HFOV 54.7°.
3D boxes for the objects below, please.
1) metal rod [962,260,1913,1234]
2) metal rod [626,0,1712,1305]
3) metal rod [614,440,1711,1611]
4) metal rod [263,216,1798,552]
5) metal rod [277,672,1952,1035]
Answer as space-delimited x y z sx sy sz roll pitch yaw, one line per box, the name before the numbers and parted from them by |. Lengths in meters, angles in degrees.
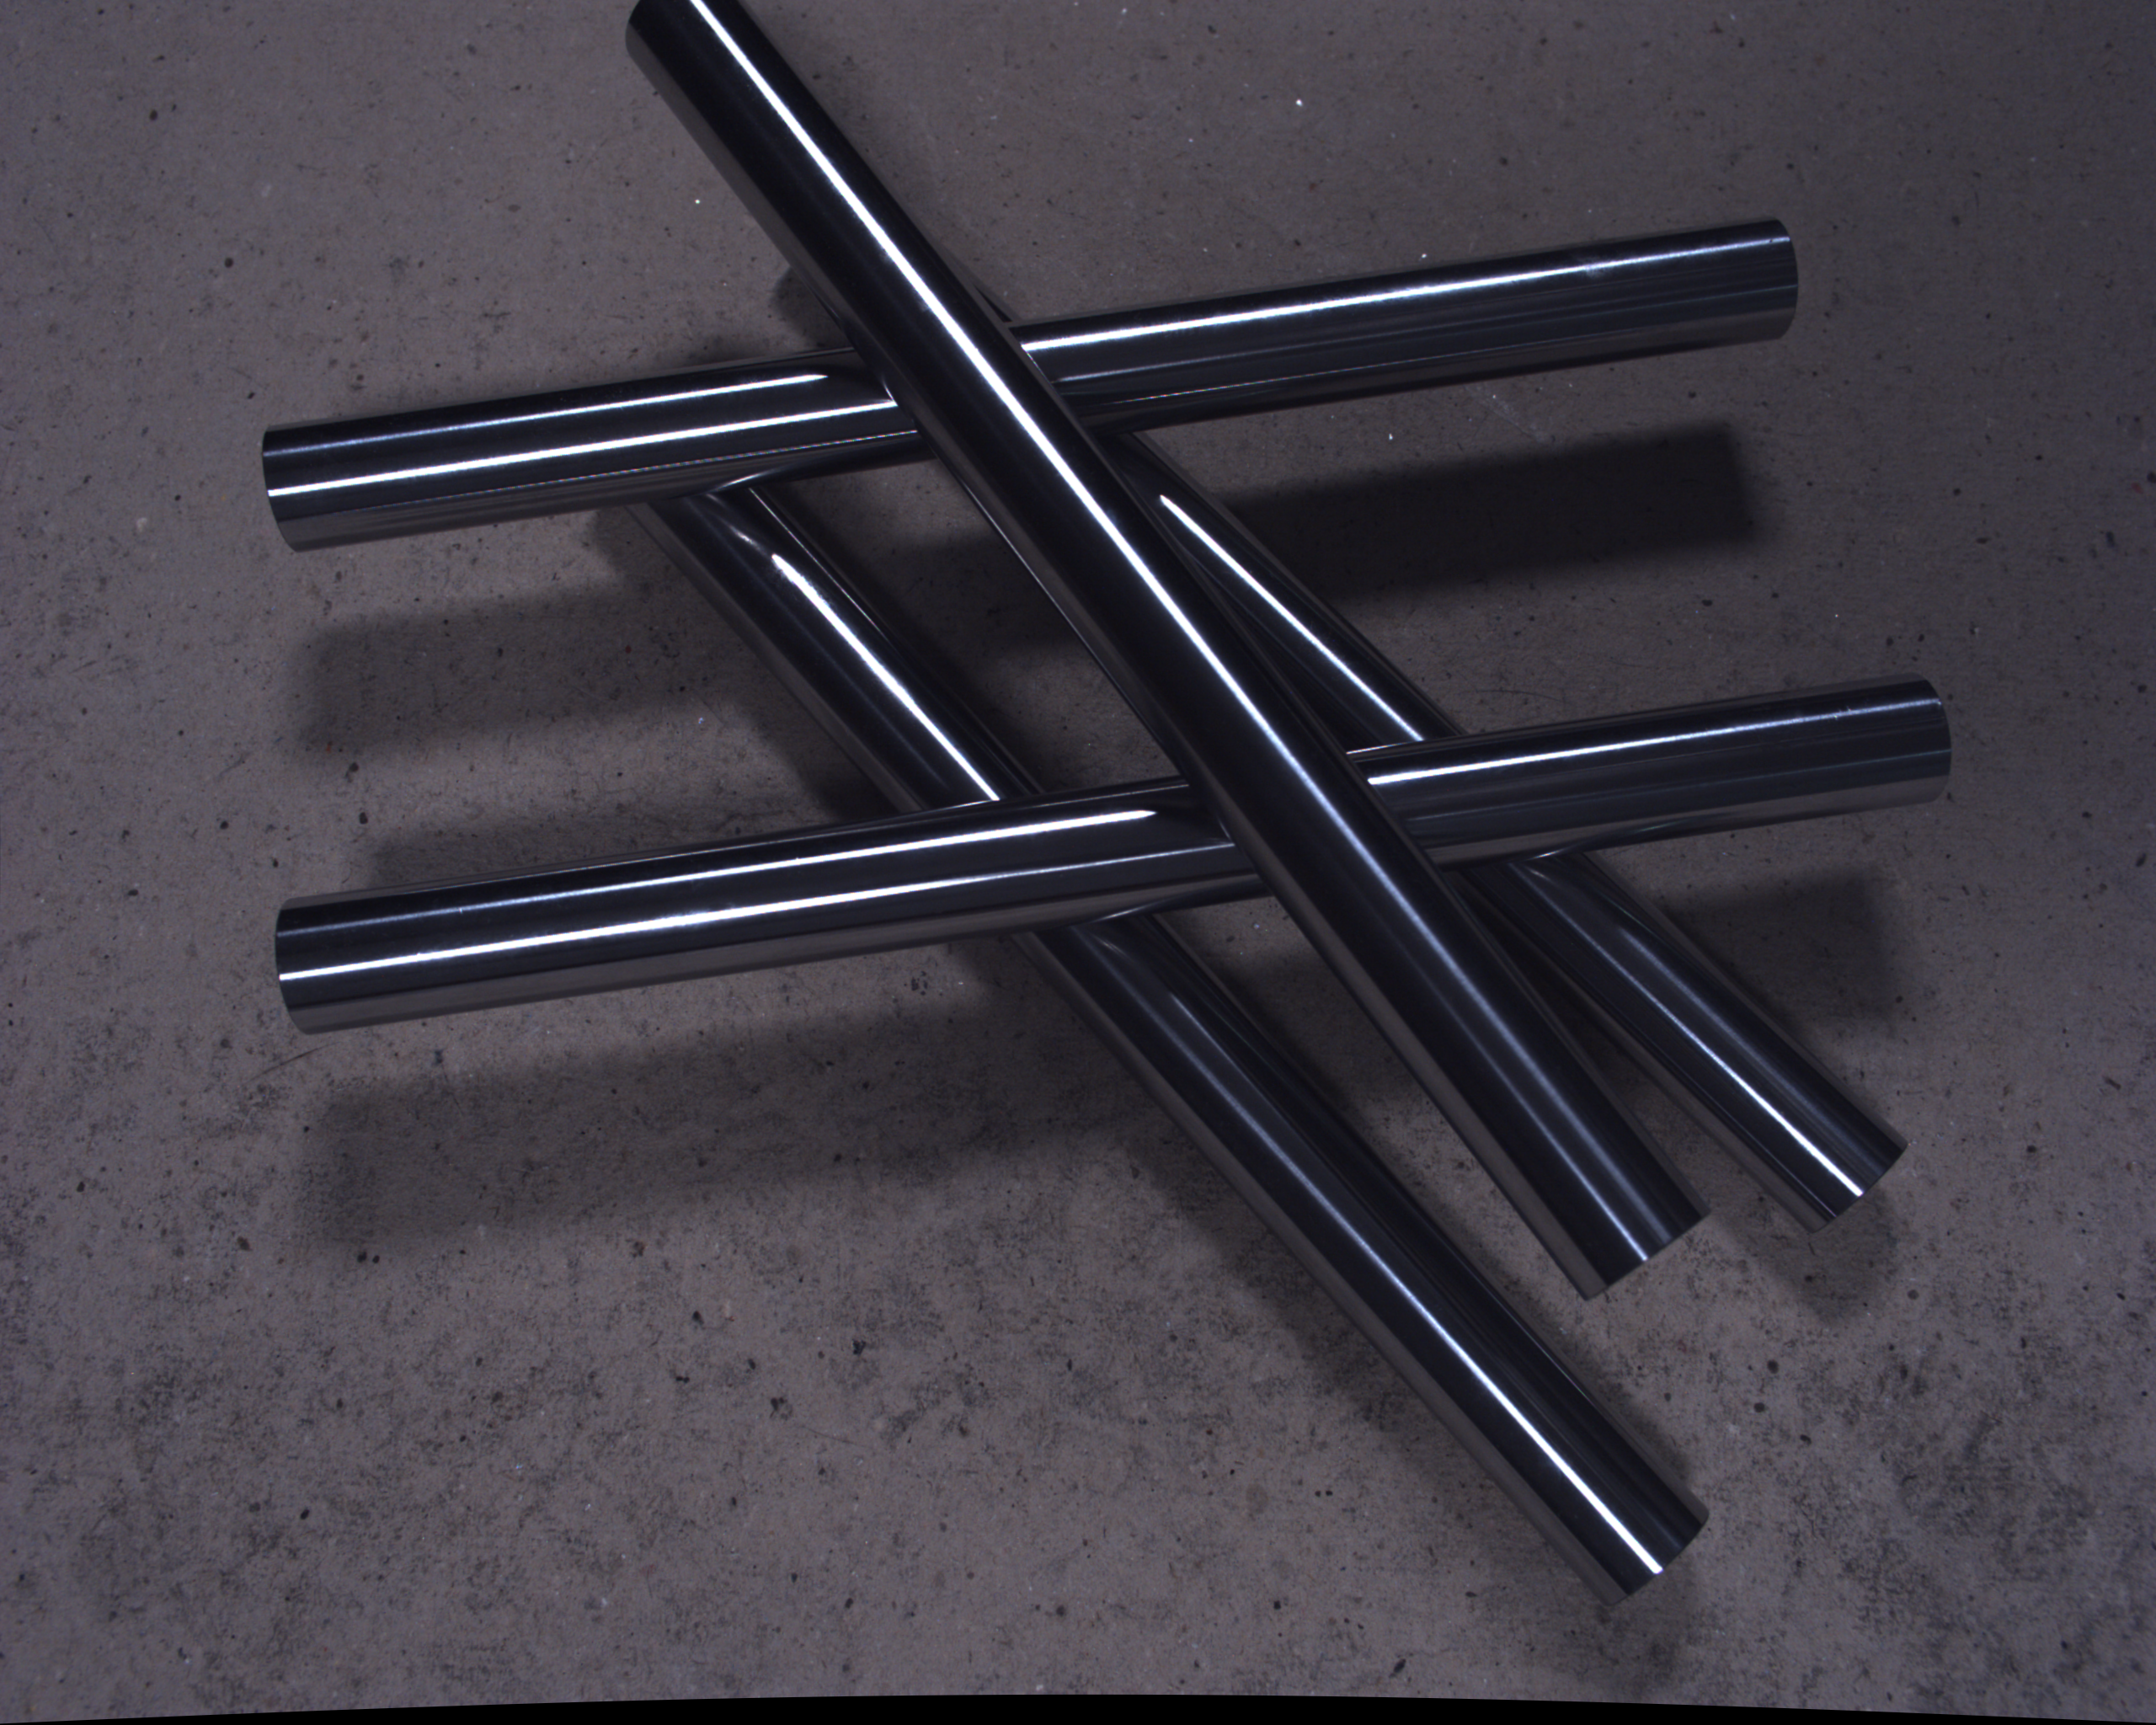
metal rod | 0.044 -0.043 0.425 0.025 0.025 0.300 -41 75 -14
metal rod | 0.006 -0.052 0.376 0.025 0.025 0.299 -33 74 -11
metal rod | 0.003 0.016 0.403 0.025 0.025 0.300 -39 75 -13
metal rod | -0.006 -0.097 0.418 0.302 0.025 0.025 -9 71 -4
metal rod | 0.010 -0.002 0.384 0.302 0.025 0.025 -8 70 -4
